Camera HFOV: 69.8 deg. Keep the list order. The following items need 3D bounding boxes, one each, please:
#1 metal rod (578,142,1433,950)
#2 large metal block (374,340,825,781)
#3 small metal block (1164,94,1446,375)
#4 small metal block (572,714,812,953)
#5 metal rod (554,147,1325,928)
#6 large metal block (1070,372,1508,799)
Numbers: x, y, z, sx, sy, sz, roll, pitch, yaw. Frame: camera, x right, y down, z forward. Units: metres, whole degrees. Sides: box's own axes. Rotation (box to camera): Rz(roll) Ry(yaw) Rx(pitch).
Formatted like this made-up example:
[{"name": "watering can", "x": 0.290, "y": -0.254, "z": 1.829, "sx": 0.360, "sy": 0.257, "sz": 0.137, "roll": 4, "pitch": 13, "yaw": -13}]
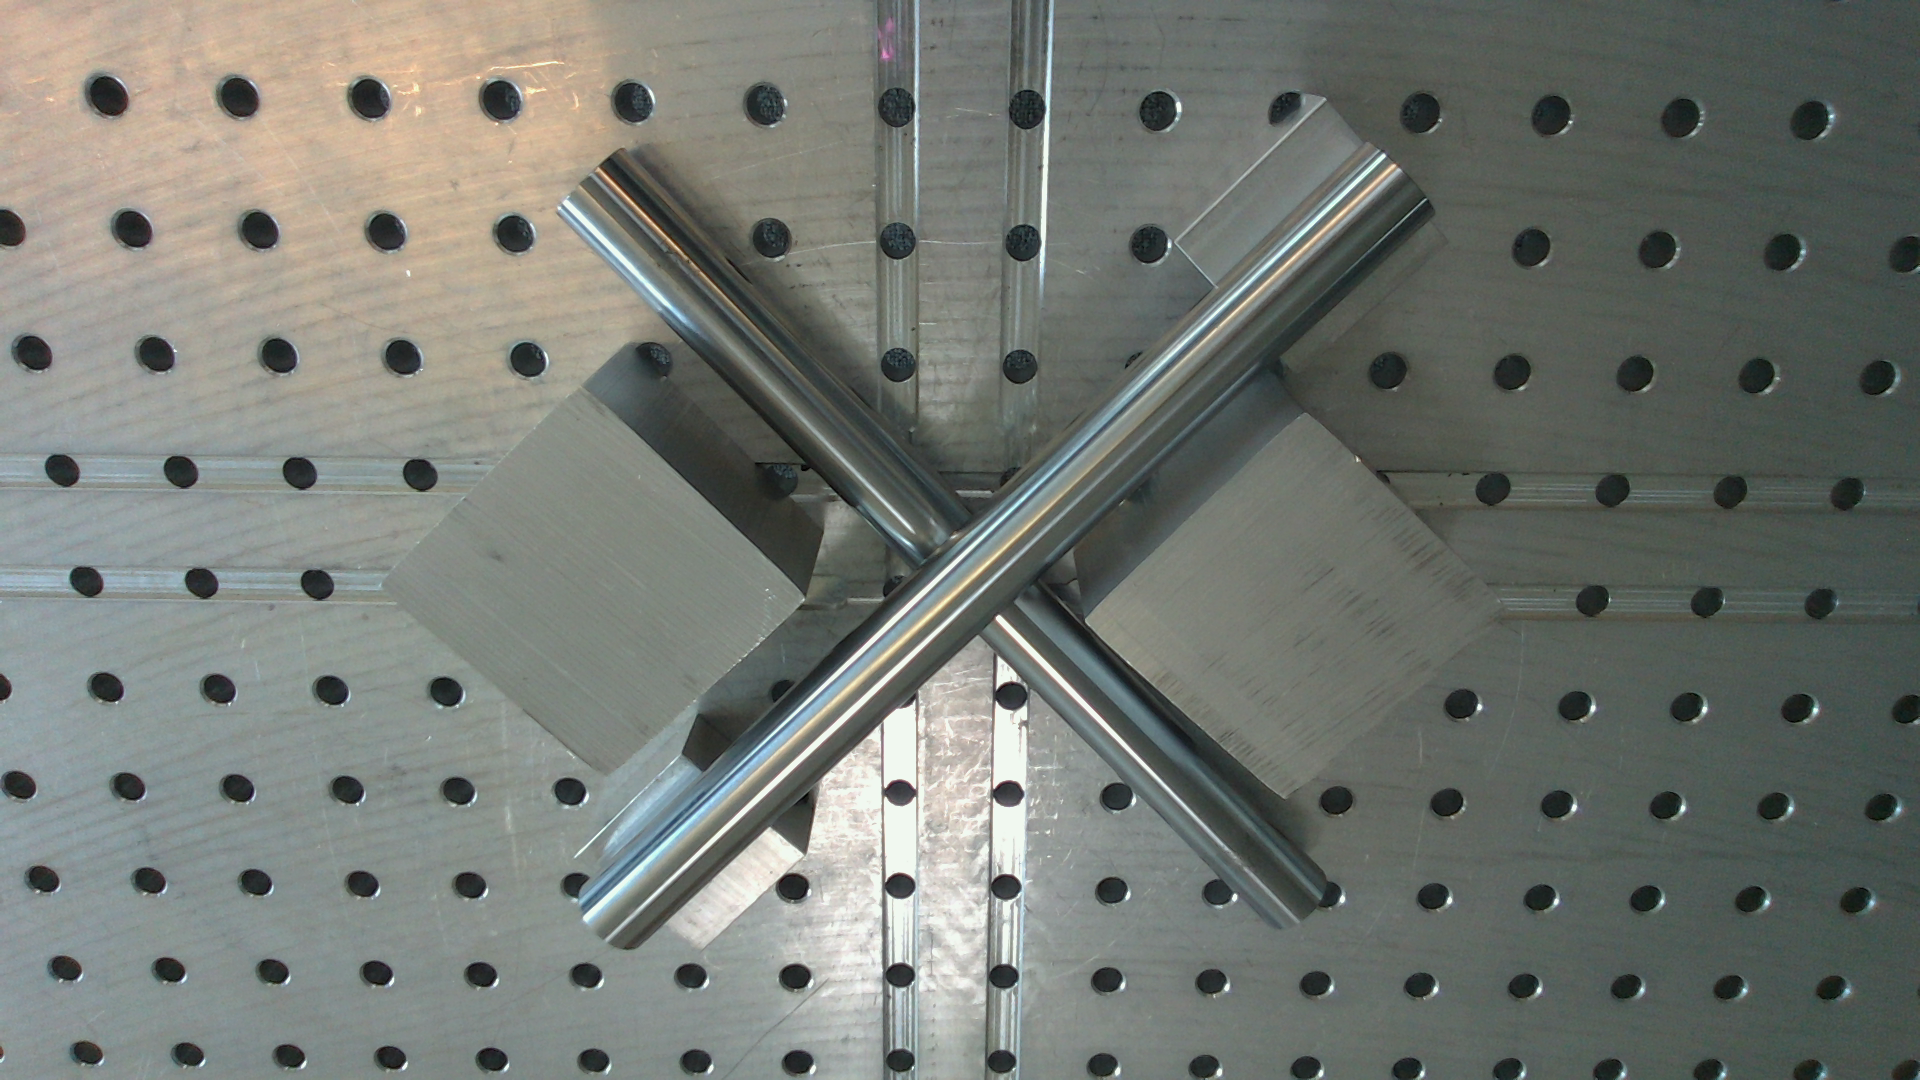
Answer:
[{"name": "metal rod", "x": 0.002, "y": 0.012, "z": 0.374, "sx": 0.025, "sy": 0.025, "sz": 0.300, "roll": 43, "pitch": 104, "yaw": -14}, {"name": "large metal block", "x": -0.097, "y": 0.005, "z": 0.385, "sx": 0.080, "sy": 0.050, "sz": 0.080, "roll": -41, "pitch": 105, "yaw": 14}, {"name": "small metal block", "x": 0.091, "y": -0.082, "z": 0.367, "sx": 0.050, "sy": 0.025, "sz": 0.050, "roll": -43, "pitch": 105, "yaw": 14}, {"name": "small metal block", "x": -0.083, "y": 0.092, "z": 0.430, "sx": 0.050, "sy": 0.025, "sz": 0.050, "roll": 43, "pitch": 105, "yaw": -14}, {"name": "metal rod", "x": 0.004, "y": 0.010, "z": 0.399, "sx": 0.025, "sy": 0.025, "sz": 0.300, "roll": -41, "pitch": 105, "yaw": 14}, {"name": "large metal block", "x": 0.089, "y": 0.010, "z": 0.388, "sx": 0.080, "sy": 0.050, "sz": 0.080, "roll": 41, "pitch": 105, "yaw": -14}]
